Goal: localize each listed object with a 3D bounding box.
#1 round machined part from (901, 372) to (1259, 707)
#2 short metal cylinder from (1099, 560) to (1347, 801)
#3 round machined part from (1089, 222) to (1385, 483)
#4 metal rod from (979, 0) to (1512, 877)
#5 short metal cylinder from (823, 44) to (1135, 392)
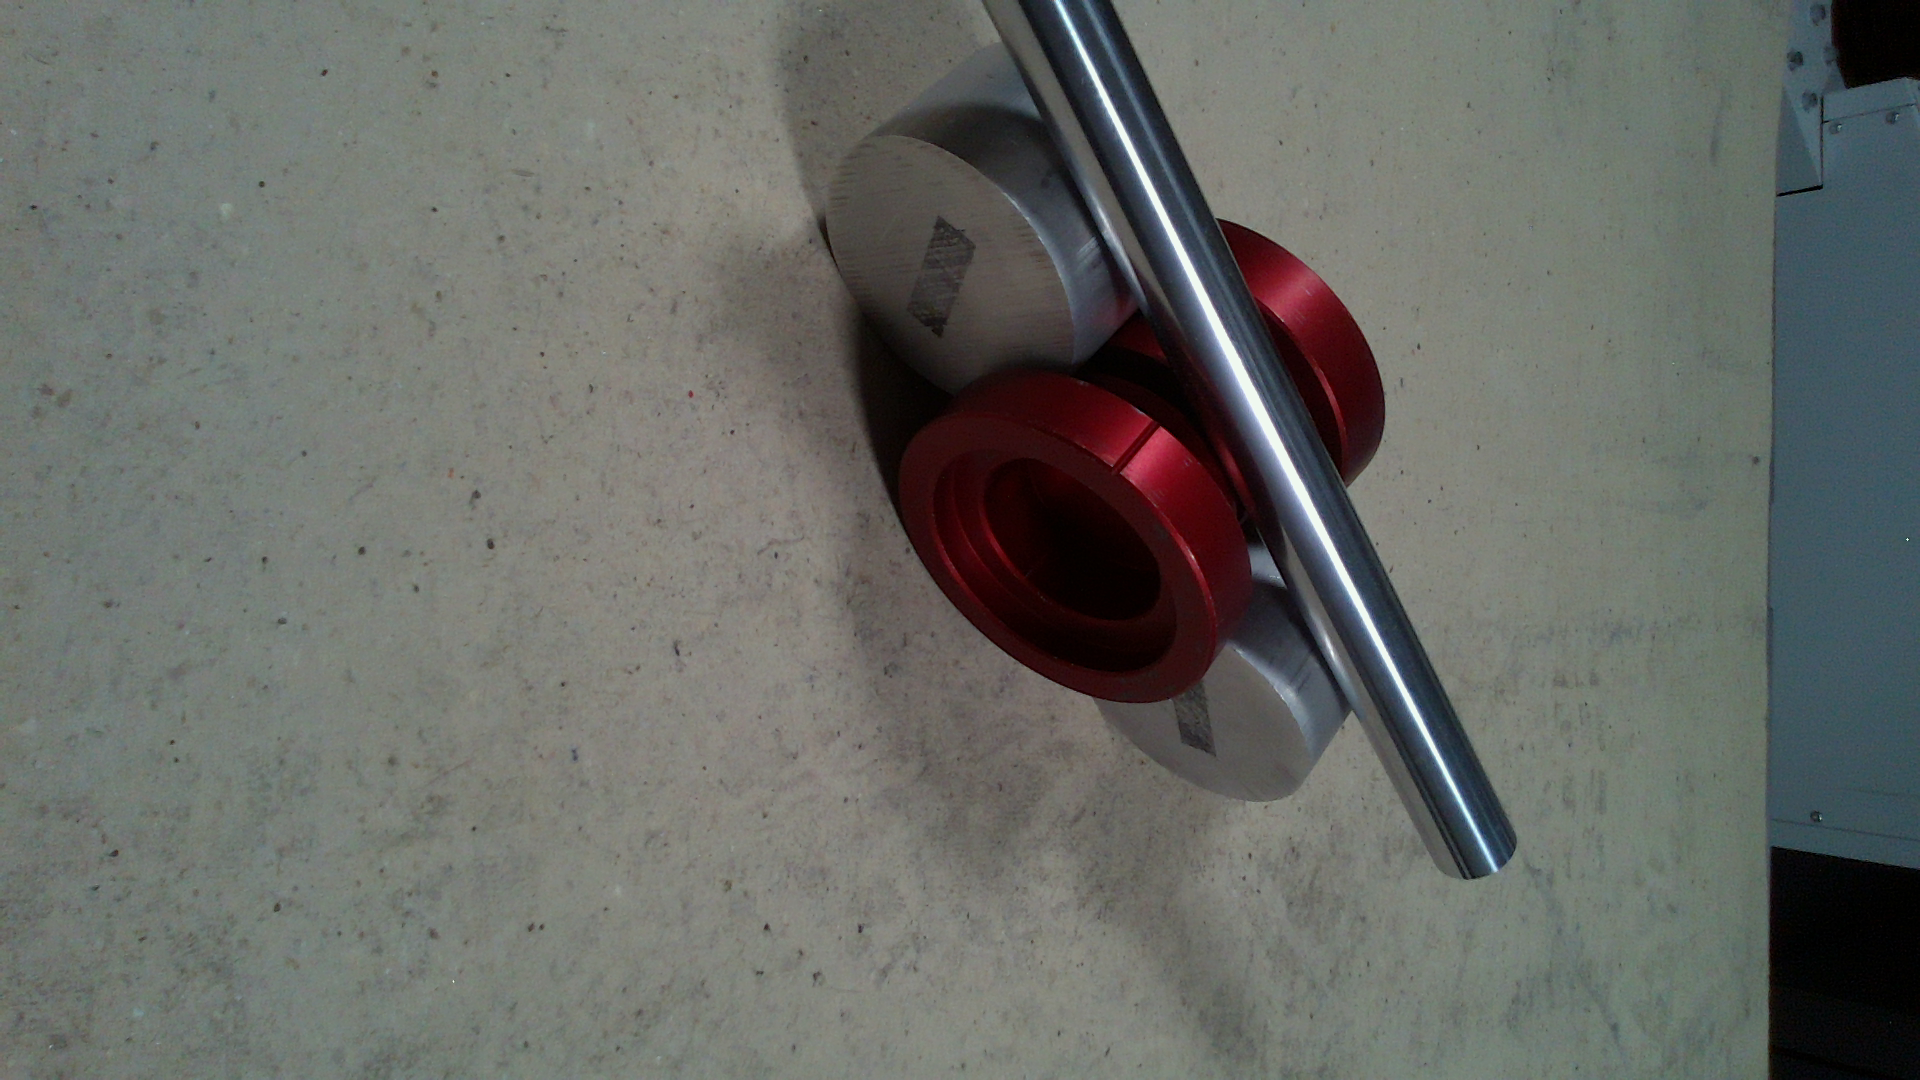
[{"bbox_3d":[0.036,-0.005,0.370,0.042,0.098,0.098,-49,119,-33],"label":"round machined part"},{"bbox_3d":[0.082,0.033,0.421,0.050,0.080,0.080,-46,118,-30],"label":"short metal cylinder"},{"bbox_3d":[0.069,-0.040,0.399,0.042,0.098,0.098,-44,117,-26],"label":"round machined part"},{"bbox_3d":[0.079,-0.024,0.352,0.025,0.025,0.300,-47,118,-29],"label":"metal rod"},{"bbox_3d":[0.011,-0.082,0.362,0.050,0.080,0.080,-46,118,-30],"label":"short metal cylinder"}]
